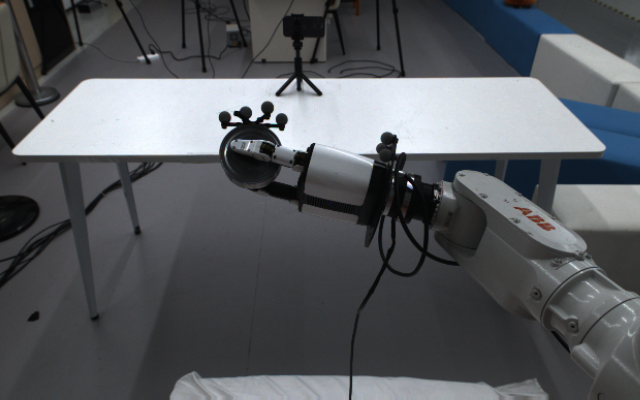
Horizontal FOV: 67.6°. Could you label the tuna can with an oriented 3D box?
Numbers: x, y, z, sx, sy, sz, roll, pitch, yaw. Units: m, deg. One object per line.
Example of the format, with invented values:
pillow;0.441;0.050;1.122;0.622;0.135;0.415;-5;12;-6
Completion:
tuna can;-0.090;-0.060;0.665;0.085;0.034;0.085;1;70;-3
